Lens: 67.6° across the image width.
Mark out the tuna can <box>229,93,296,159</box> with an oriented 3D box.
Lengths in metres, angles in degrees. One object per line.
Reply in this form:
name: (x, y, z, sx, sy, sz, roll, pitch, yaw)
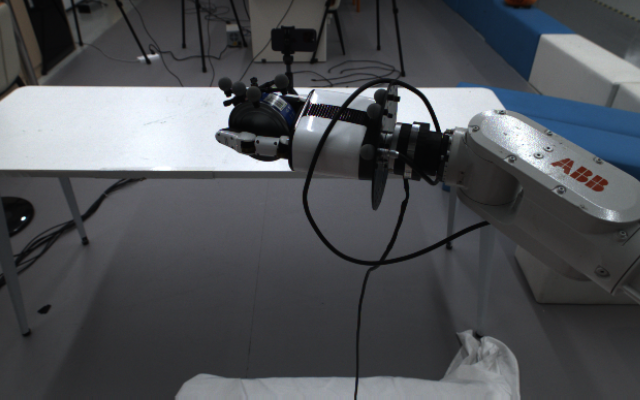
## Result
tuna can: (-0.070, -0.095, 0.619, 0.085, 0.085, 0.034, 14, 40, 16)
